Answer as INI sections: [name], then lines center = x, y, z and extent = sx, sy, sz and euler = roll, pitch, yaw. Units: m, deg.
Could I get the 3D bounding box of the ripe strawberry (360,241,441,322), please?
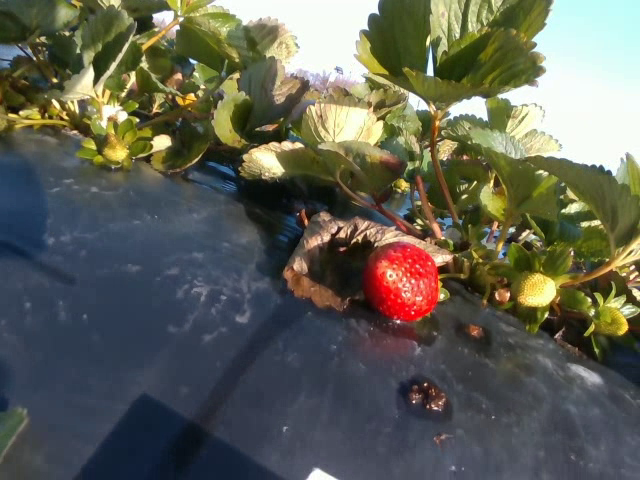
[ripe strawberry]
center = 0.028, 0.016, 0.241
extent = 0.047, 0.038, 0.054
euler = 46, 18, 28
